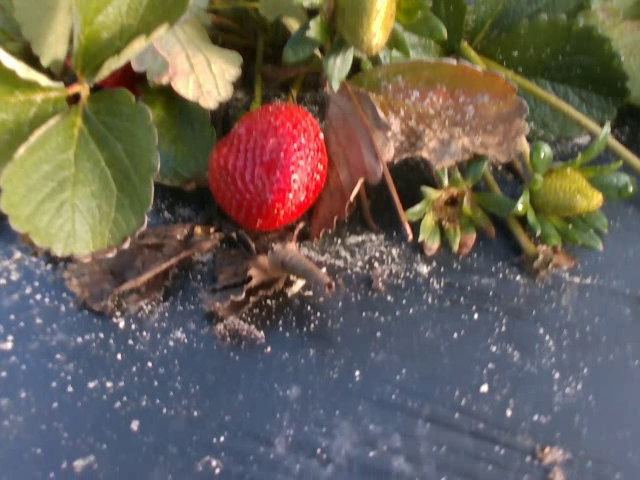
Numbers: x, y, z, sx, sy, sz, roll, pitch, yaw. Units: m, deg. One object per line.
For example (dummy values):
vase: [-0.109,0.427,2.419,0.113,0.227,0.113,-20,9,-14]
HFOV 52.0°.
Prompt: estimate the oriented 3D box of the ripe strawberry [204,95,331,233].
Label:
ripe strawberry: [-0.011,-0.013,0.129,0.032,0.025,0.030,-19,32,-8]
